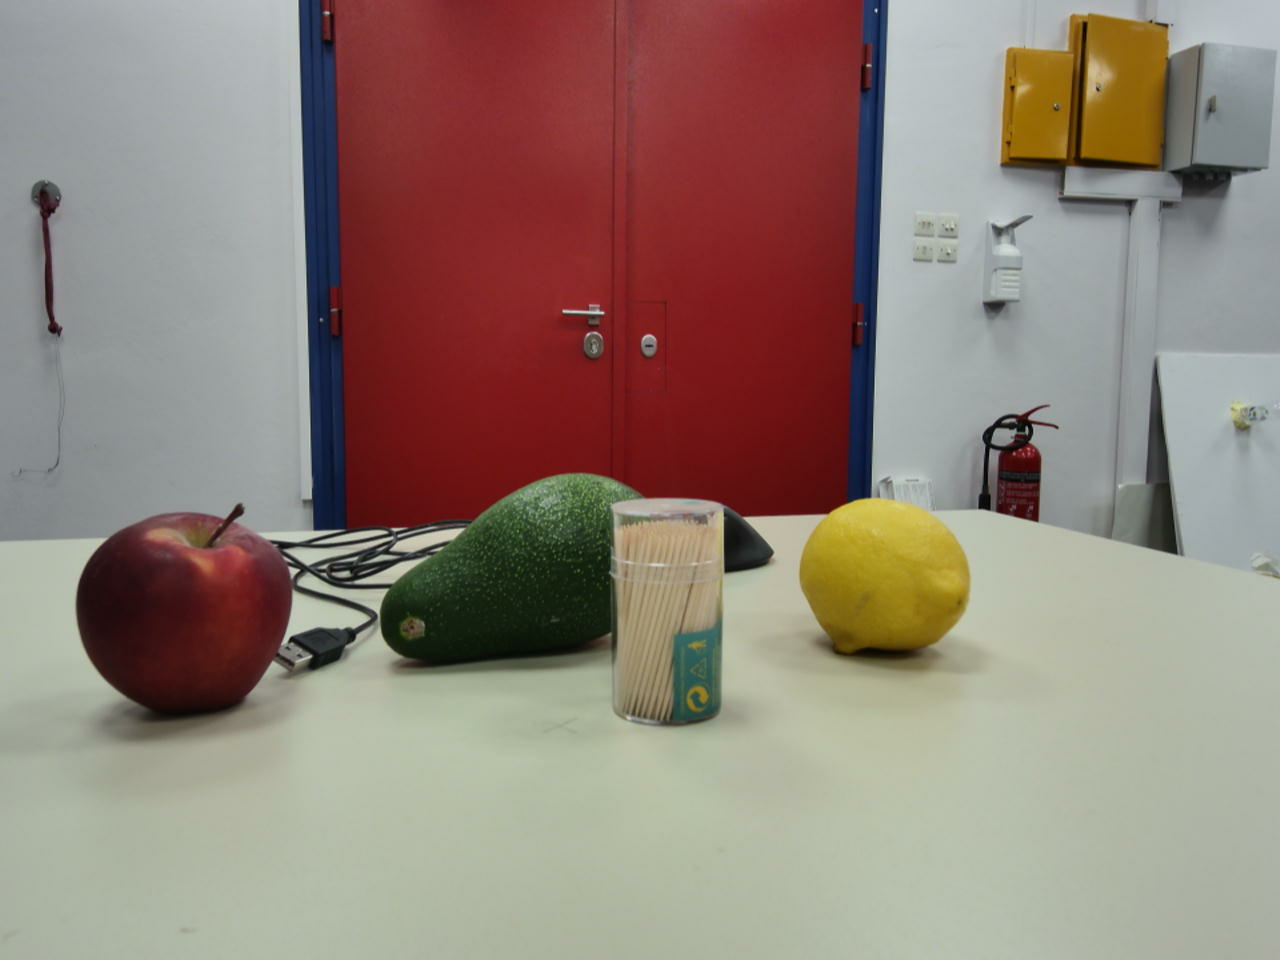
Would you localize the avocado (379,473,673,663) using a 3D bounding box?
[{"bbox_3d":[-0.047,0.035,0.433,0.123,0.076,0.074,-1,4,-7],"label":"avocado"}]
